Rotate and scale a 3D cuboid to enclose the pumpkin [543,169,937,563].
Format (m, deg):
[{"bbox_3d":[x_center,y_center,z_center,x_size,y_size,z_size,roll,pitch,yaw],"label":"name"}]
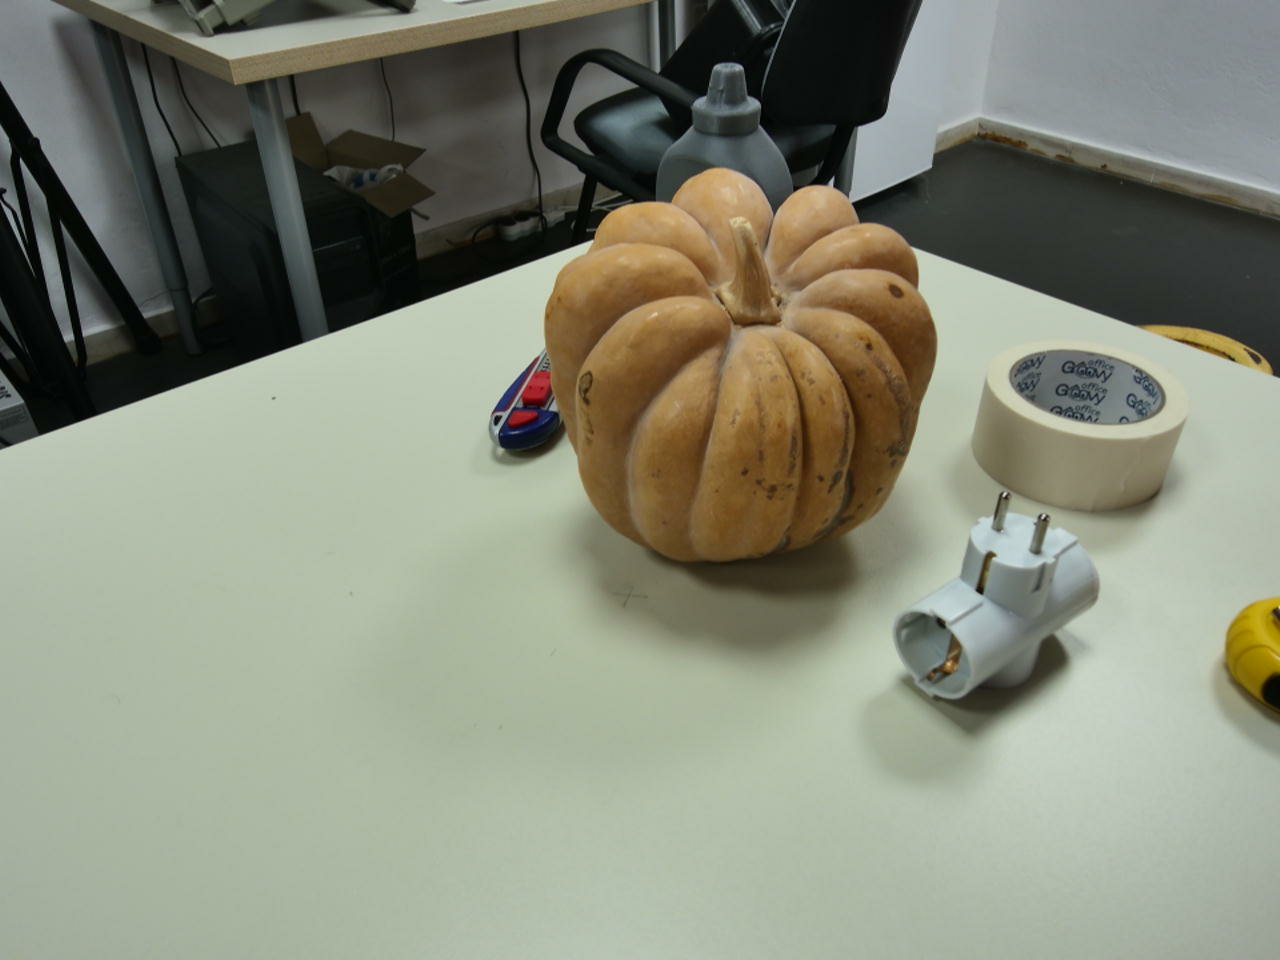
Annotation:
[{"bbox_3d":[0.049,-0.053,0.508,0.199,0.177,0.198,-1,36,1],"label":"pumpkin"}]
